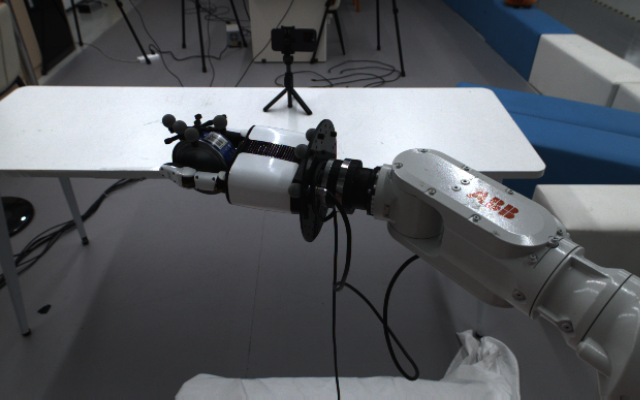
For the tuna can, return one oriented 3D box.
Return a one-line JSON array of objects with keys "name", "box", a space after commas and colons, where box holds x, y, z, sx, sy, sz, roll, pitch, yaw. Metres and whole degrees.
[{"name": "tuna can", "box": [-0.150, -0.052, 0.648, 0.085, 0.085, 0.034, 14, 39, 16]}]
